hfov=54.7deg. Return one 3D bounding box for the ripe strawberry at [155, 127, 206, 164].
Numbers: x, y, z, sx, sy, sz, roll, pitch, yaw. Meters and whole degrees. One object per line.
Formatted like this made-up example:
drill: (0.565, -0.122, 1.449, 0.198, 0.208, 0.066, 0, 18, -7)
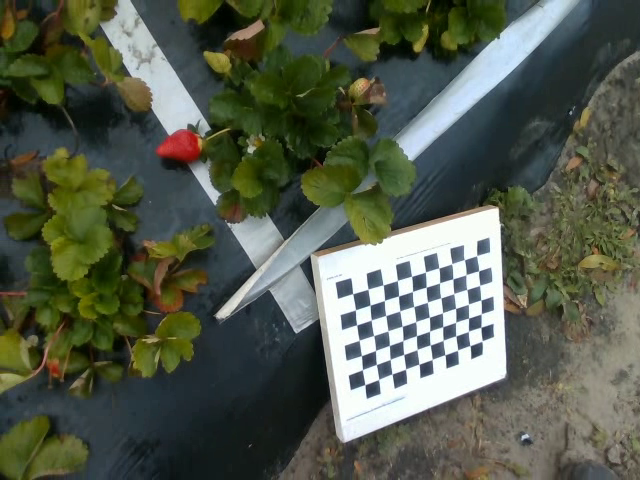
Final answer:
ripe strawberry: (-0.154, -0.102, 0.668, 0.051, 0.042, 0.037, -19, 24, -23)
